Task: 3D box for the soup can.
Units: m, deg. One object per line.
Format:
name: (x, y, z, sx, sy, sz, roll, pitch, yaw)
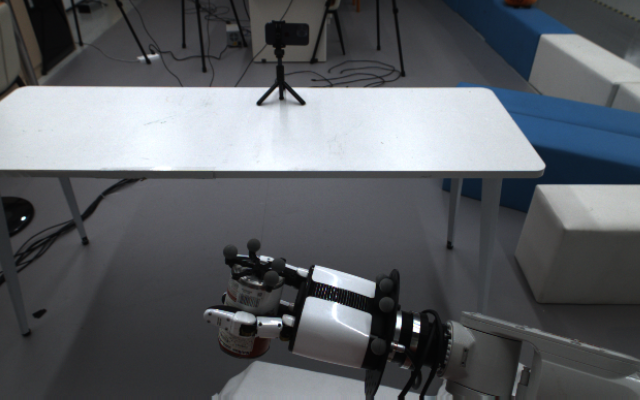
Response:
soup can: (-0.083, 0.134, 0.596, 0.067, 0.101, 0.067, 13, 18, -4)
